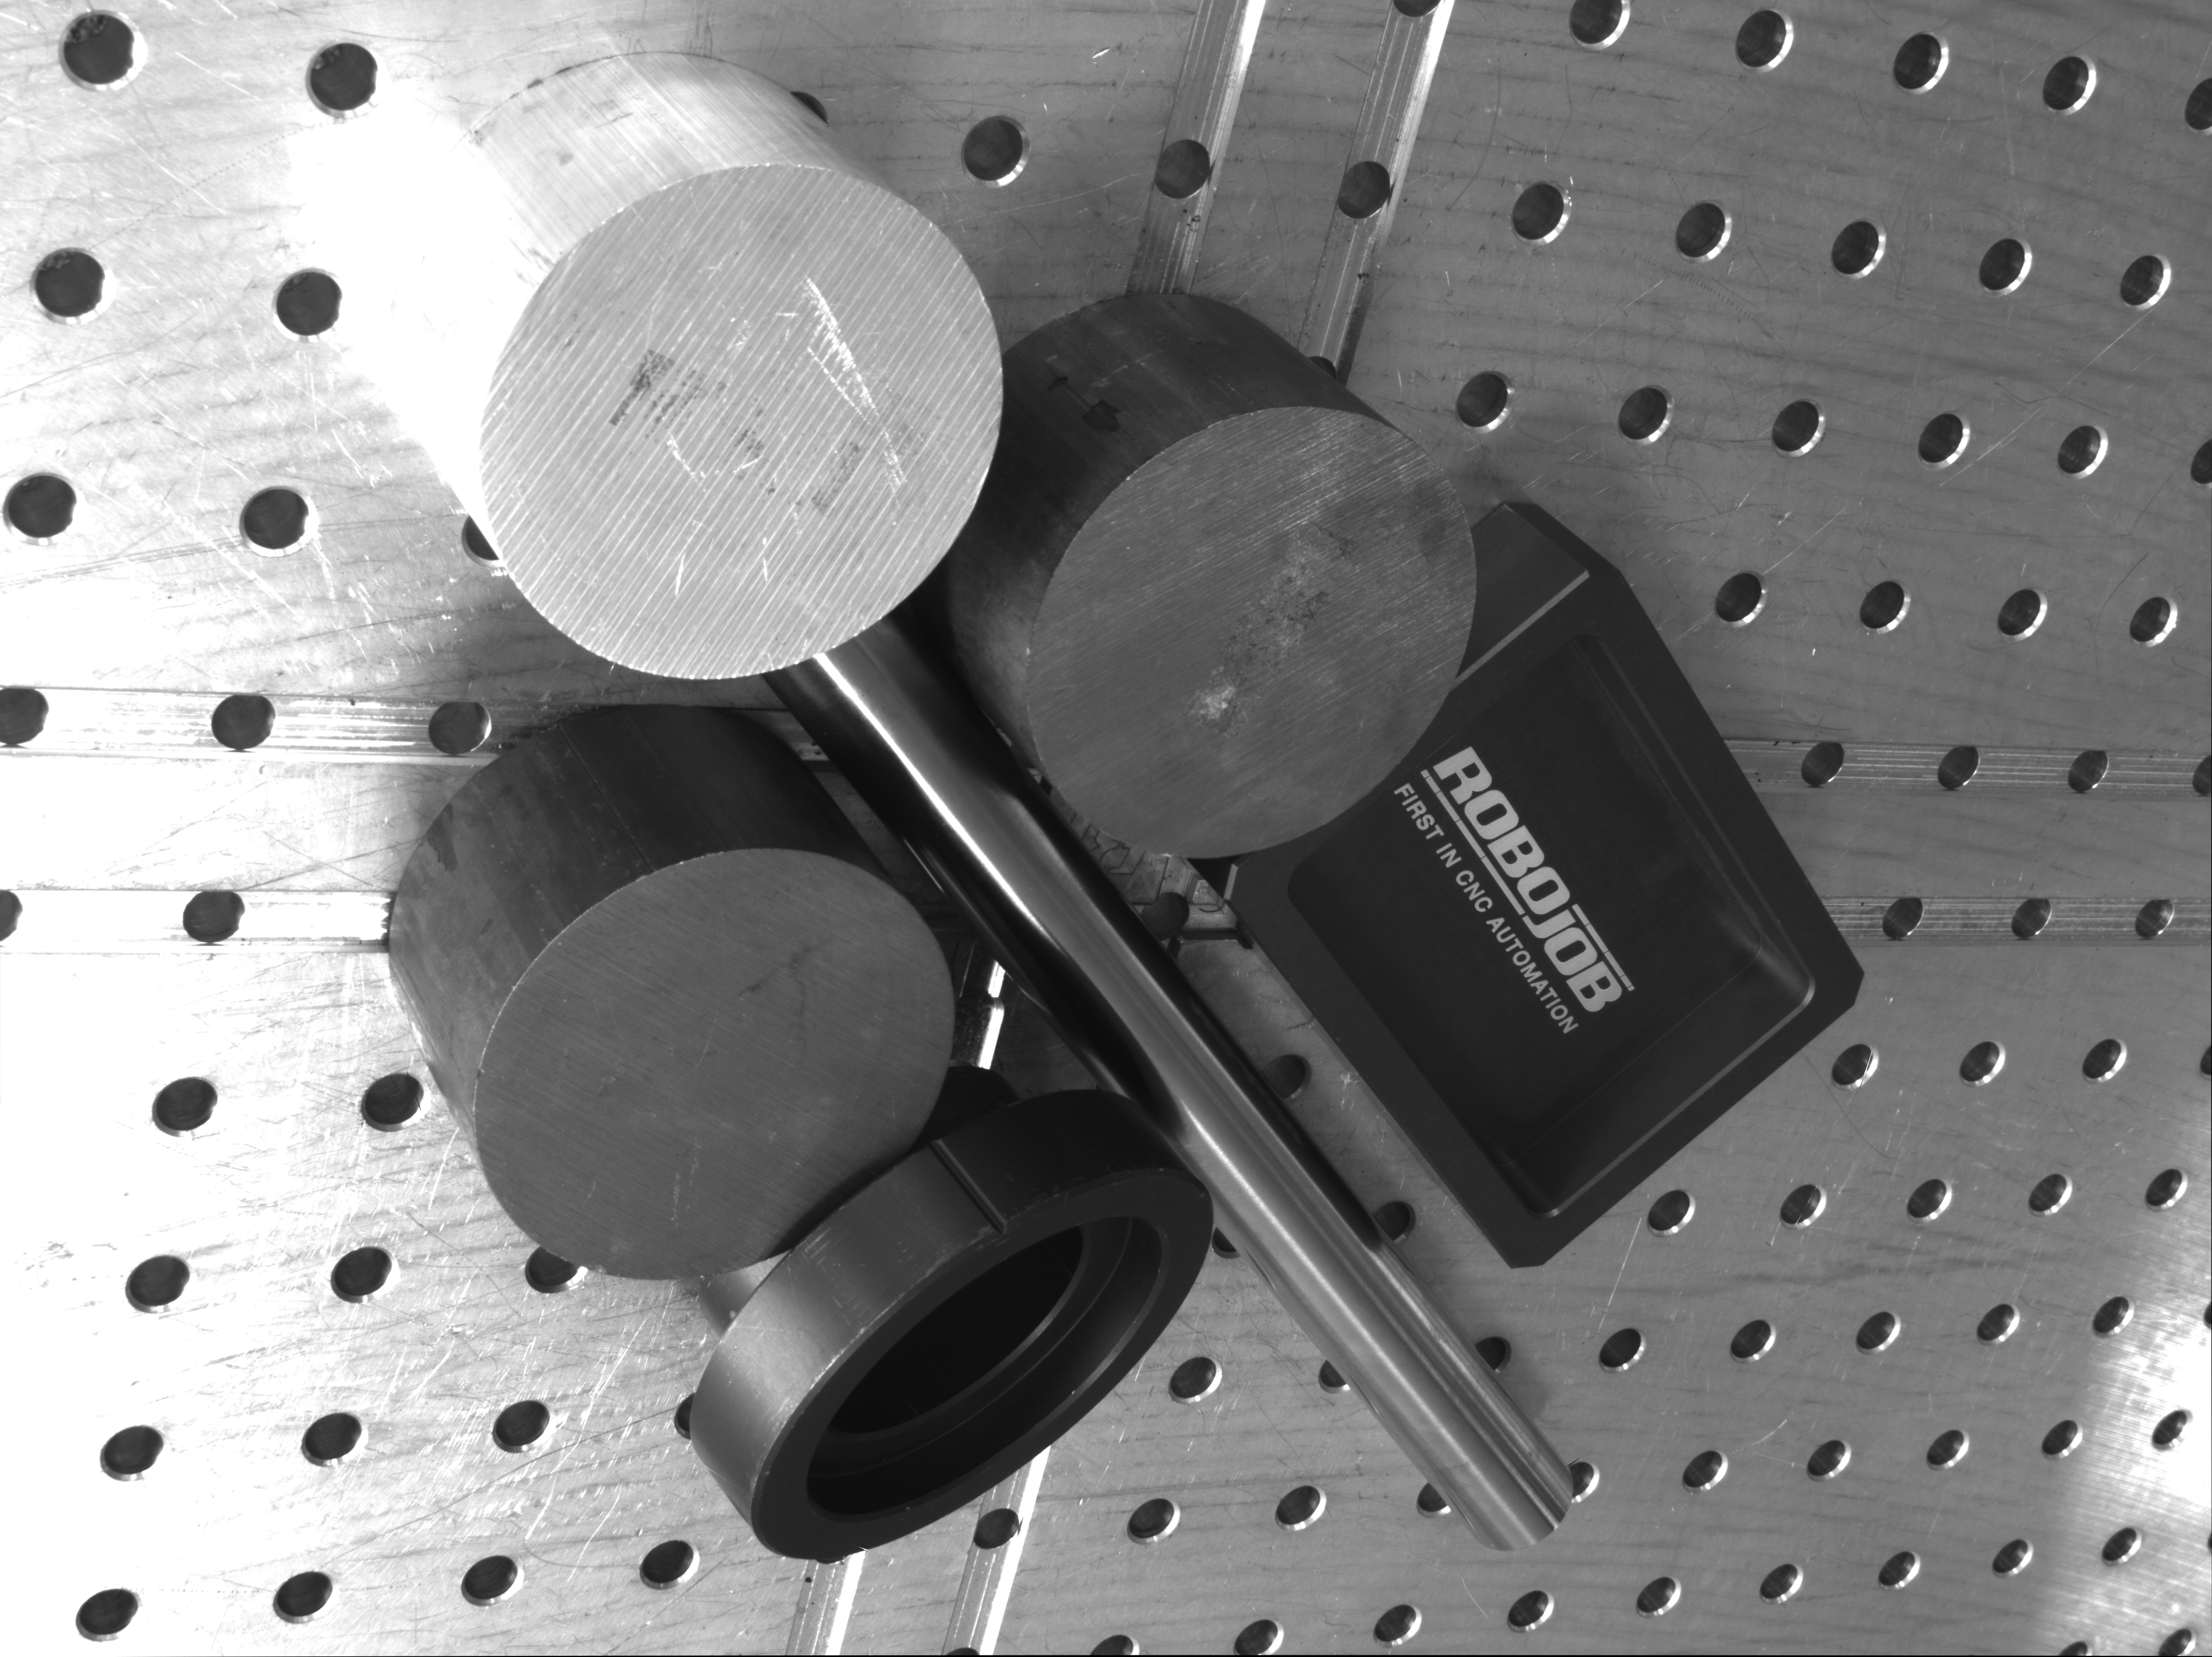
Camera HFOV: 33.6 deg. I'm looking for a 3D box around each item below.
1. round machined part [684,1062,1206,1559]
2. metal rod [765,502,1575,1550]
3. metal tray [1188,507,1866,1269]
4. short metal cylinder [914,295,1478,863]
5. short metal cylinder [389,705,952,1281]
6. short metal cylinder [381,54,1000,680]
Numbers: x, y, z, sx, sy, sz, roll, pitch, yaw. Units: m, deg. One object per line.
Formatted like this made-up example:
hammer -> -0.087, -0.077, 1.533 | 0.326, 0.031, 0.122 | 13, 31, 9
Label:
round machined part -> -0.033, 0.080, 0.646 | 0.098, 0.042, 0.098 | -32, 151, -20
metal rod -> 0.016, 0.048, 0.678 | 0.025, 0.025, 0.301 | -39, 129, -2
metal tray -> 0.078, 0.014, 0.686 | 0.090, 0.030, 0.130 | -39, 129, -1
short metal cylinder -> 0.014, -0.041, 0.606 | 0.080, 0.050, 0.080 | -14, 124, -21
short metal cylinder -> -0.072, 0.027, 0.601 | 0.080, 0.050, 0.080 | -14, 124, -21
short metal cylinder -> -0.062, -0.069, 0.549 | 0.080, 0.050, 0.080 | -14, 124, -21
